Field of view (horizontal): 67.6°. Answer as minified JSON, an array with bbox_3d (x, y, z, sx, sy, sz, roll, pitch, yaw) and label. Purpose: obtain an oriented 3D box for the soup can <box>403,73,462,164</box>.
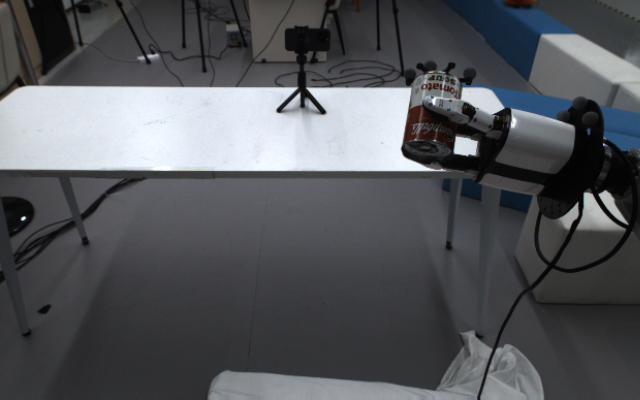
[{"bbox_3d":[0.150,-0.111,0.642,0.067,0.067,0.101,8,74,9],"label":"soup can"}]
